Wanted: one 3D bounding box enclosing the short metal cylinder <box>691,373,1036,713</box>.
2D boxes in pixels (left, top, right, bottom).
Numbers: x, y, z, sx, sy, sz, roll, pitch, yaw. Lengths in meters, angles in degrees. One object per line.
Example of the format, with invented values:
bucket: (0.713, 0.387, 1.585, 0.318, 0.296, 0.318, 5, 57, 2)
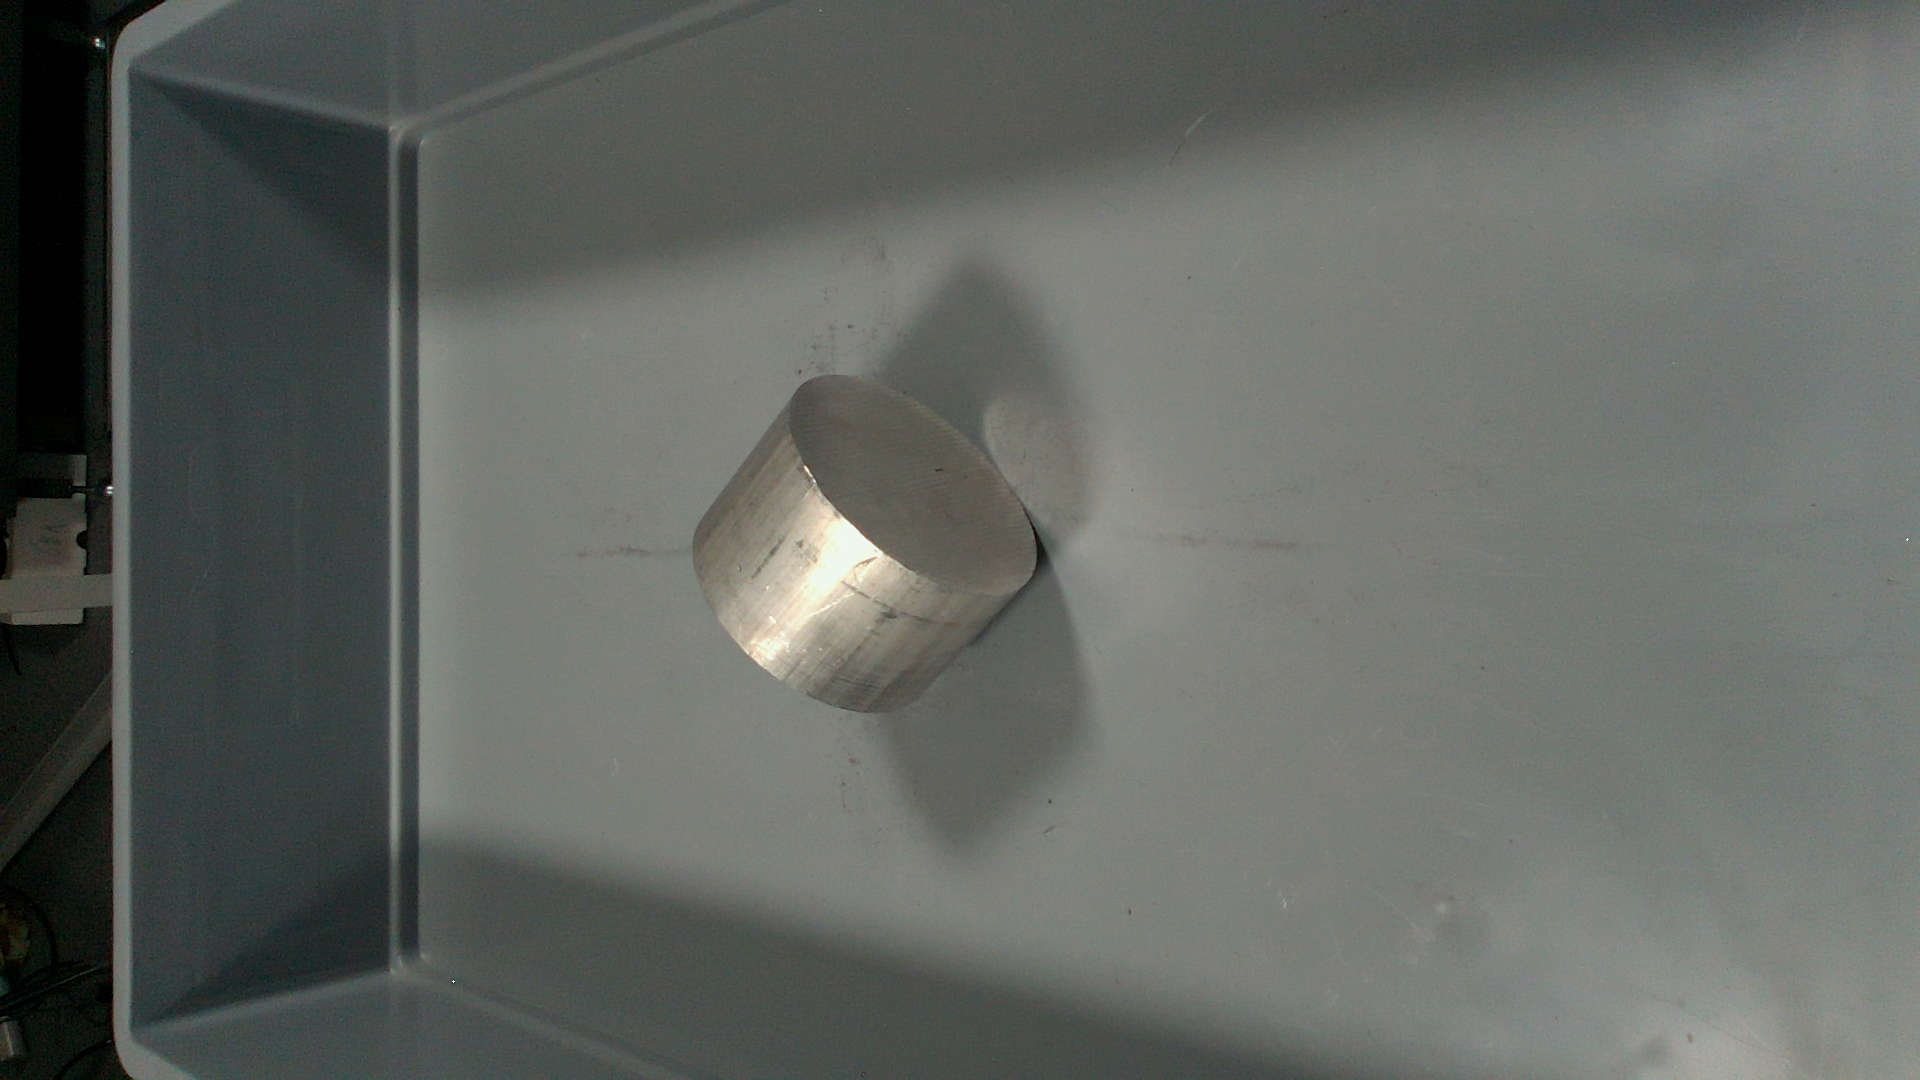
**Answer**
short metal cylinder: (-0.026, 0.000, 0.378, 0.050, 0.080, 0.080, -49, 61, 29)
